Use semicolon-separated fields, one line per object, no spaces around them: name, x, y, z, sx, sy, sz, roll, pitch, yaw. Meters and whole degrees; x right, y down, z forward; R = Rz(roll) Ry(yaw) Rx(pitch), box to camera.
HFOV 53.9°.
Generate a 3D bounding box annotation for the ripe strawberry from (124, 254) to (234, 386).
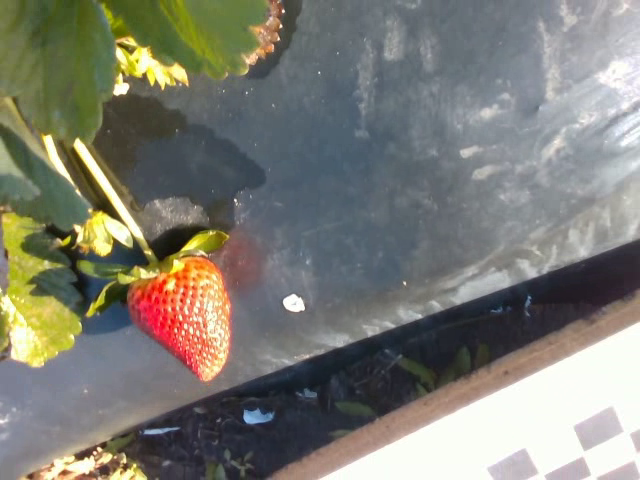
ripe strawberry;-0.050;0.032;0.235;0.045;0.055;0.042;-24;-1;-1
